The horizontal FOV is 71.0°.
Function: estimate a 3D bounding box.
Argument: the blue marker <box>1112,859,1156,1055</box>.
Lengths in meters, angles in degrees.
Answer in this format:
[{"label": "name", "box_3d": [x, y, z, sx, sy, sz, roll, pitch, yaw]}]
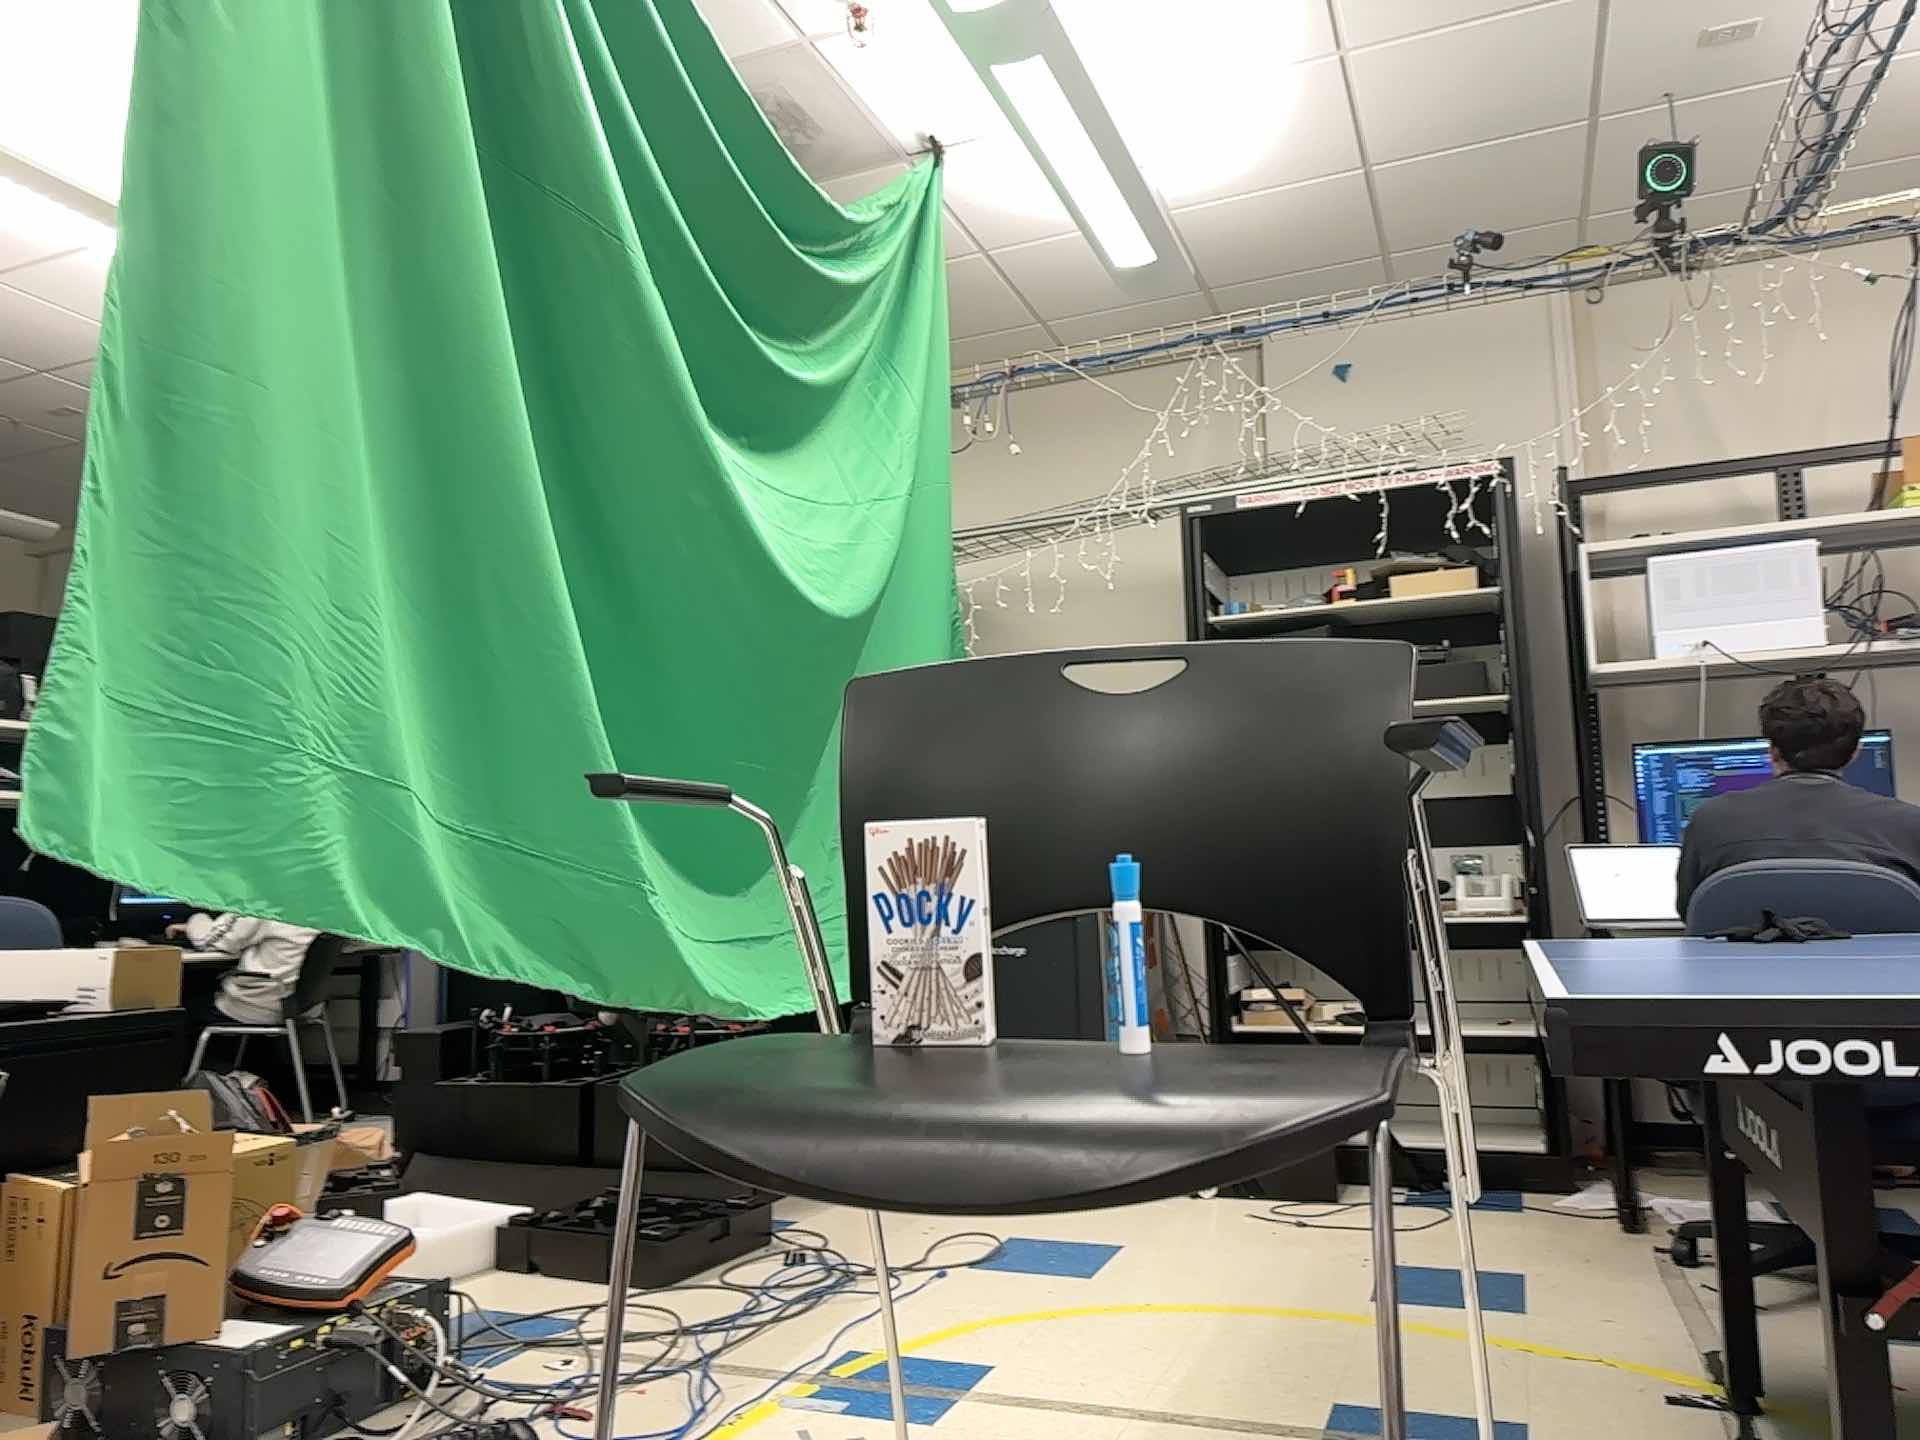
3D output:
[{"label": "blue marker", "box_3d": [0.110, 0.149, 0.850, 0.020, 0.121, 0.020, -4, -4, 0]}]

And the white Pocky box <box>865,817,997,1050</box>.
[{"label": "white Pocky box", "box_3d": [-0.020, 0.145, 0.917, 0.084, 0.154, 0.028, -3, -4, 17]}]
